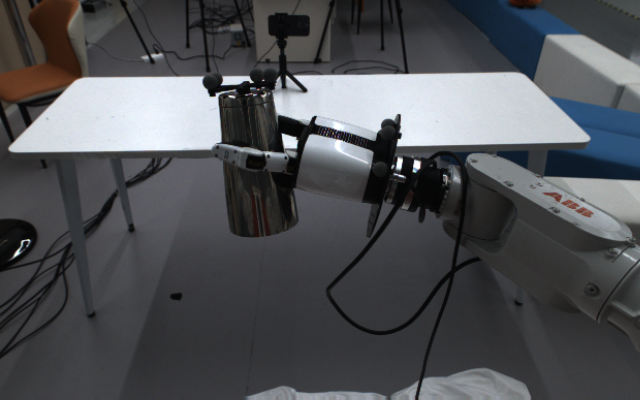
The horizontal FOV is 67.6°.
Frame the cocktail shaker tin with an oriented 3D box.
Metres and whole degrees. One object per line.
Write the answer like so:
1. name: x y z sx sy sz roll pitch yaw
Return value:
1. cocktail shaker tin: -0.082 -0.049 0.610 0.093 0.170 0.093 -6 19 2
